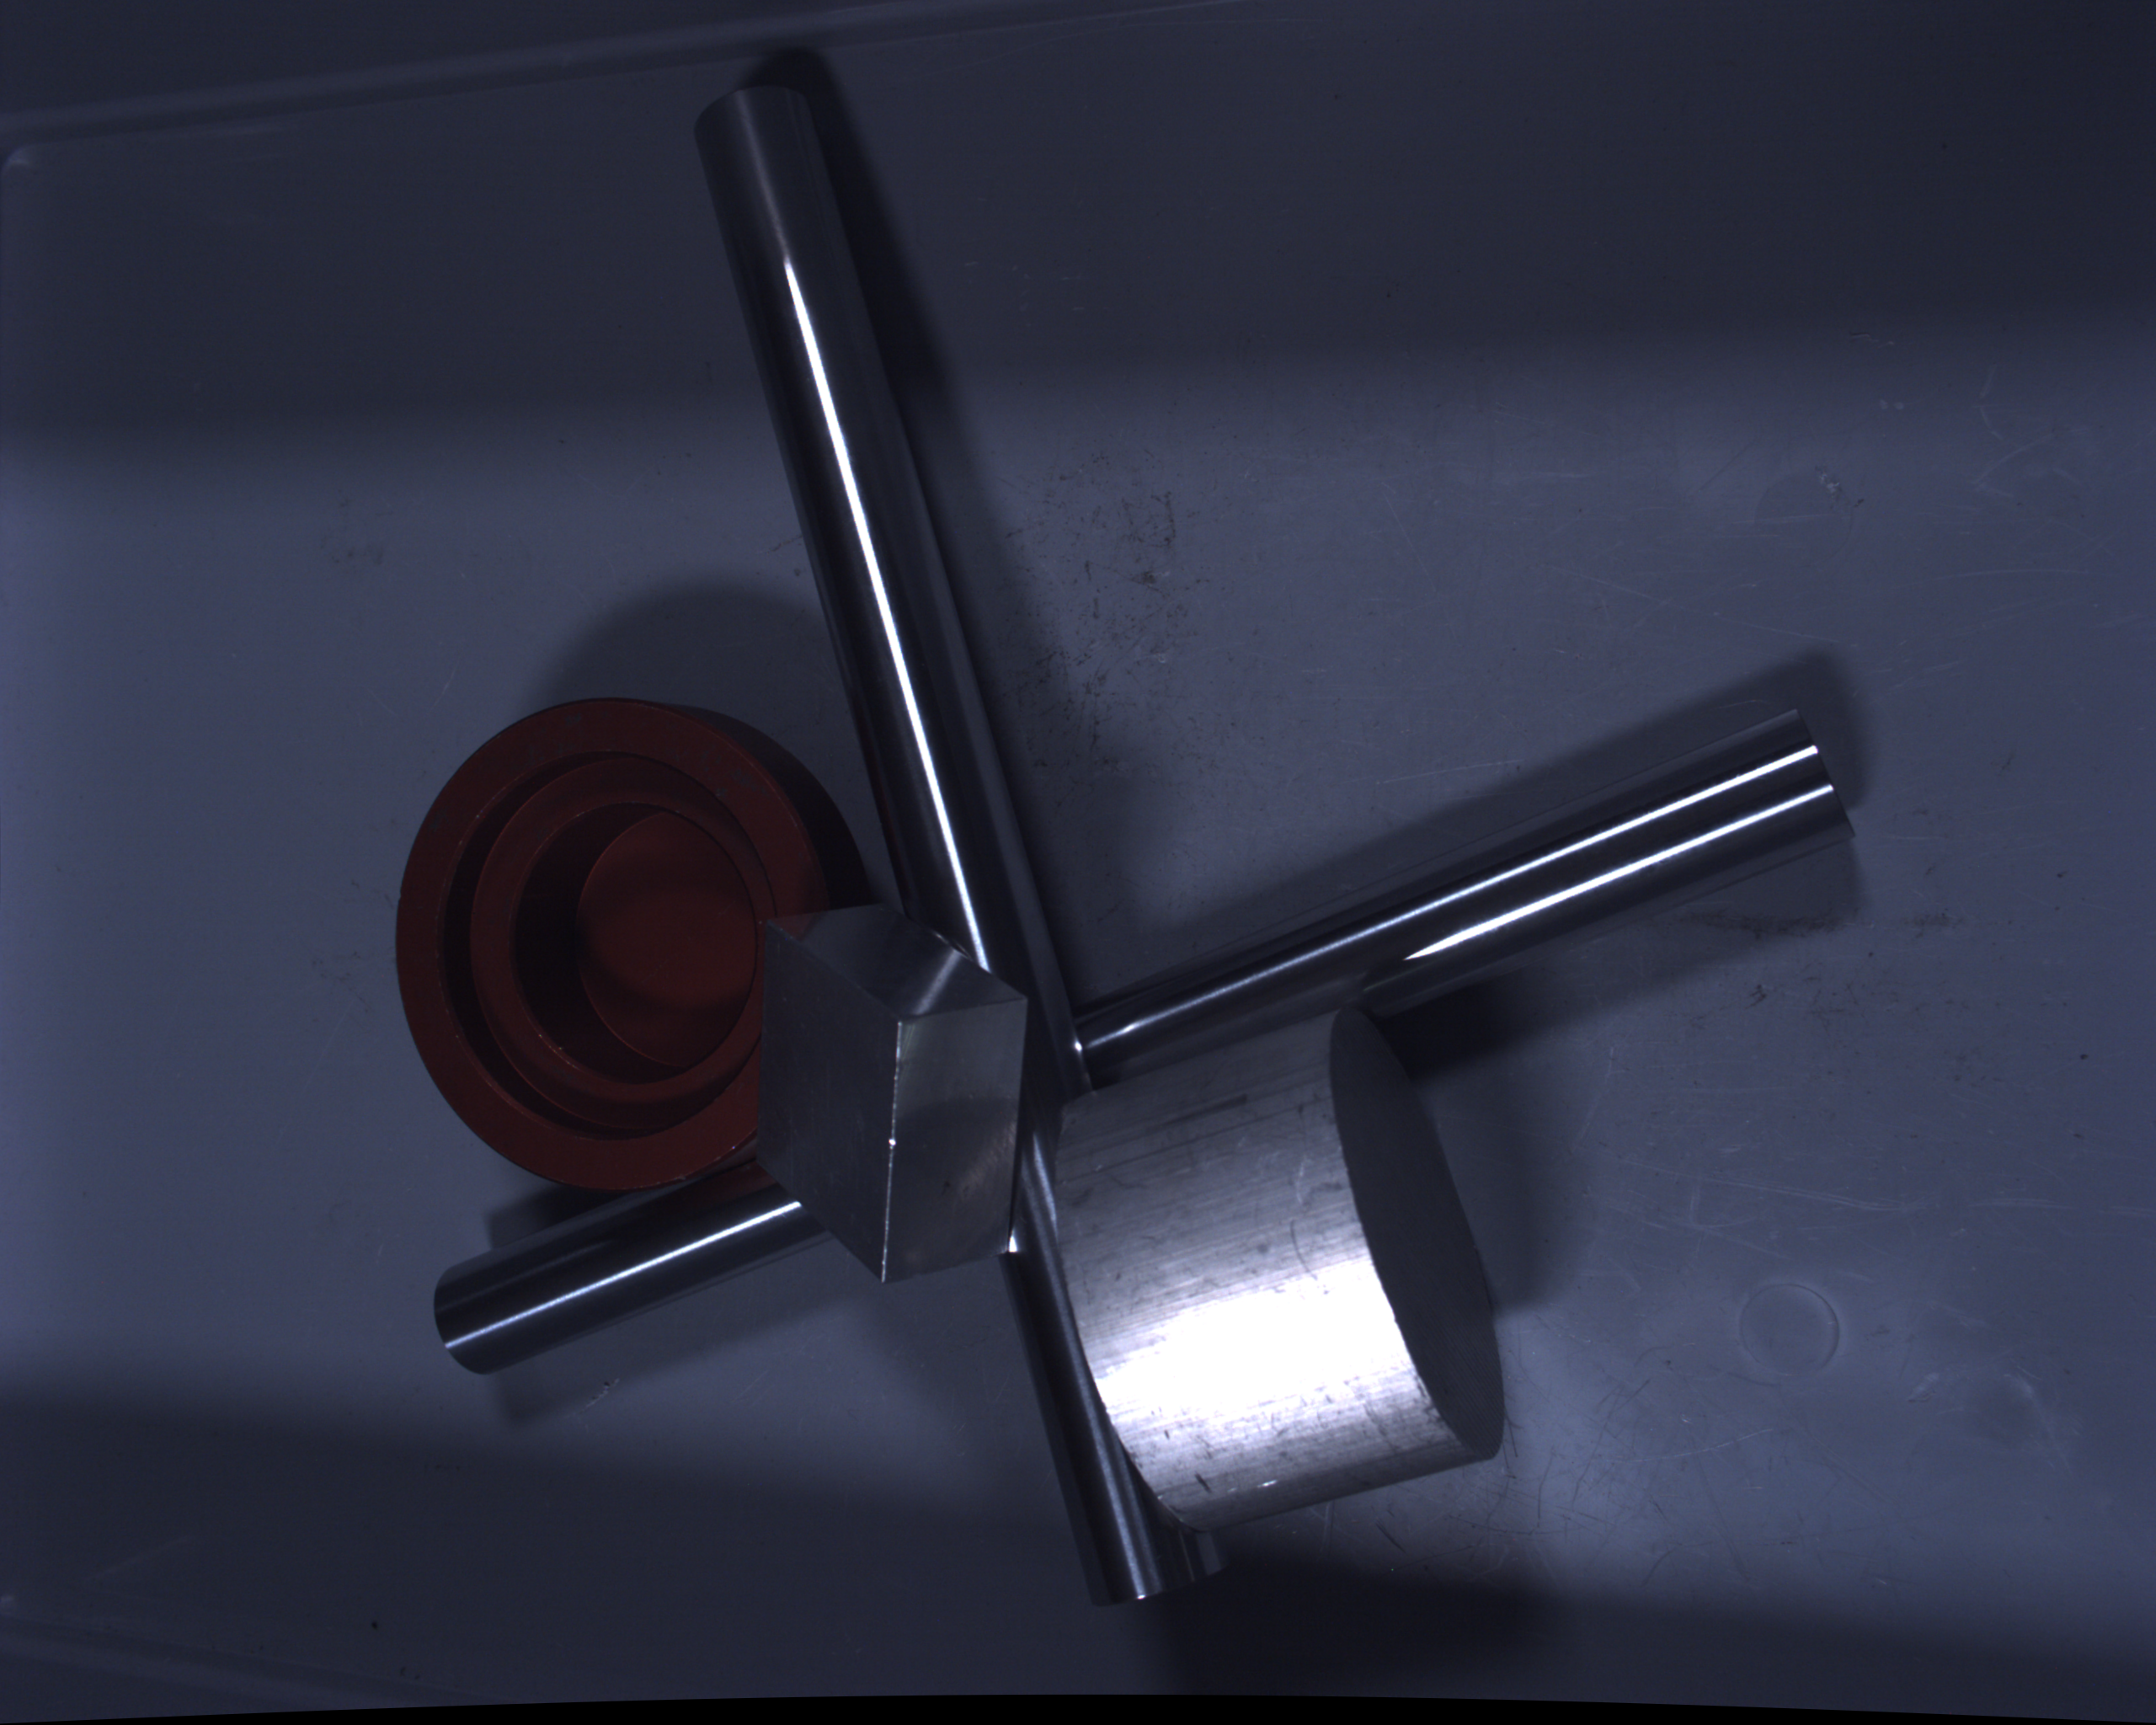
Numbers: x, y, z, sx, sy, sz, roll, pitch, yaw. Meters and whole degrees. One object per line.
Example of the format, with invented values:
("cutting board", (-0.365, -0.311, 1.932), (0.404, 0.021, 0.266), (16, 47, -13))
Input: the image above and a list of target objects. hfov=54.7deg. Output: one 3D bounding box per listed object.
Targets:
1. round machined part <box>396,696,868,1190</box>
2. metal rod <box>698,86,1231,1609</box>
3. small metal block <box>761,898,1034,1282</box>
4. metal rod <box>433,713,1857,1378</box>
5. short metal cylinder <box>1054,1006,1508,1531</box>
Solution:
("round machined part", (-0.086, 0.016, 0.430), (0.098, 0.042, 0.097), (0, 90, 19))
("metal rod", (-0.026, -0.013, 0.398), (0.025, 0.025, 0.299), (-20, 76, 18))
("small metal block", (-0.034, 0.039, 0.376), (0.050, 0.025, 0.050), (29, 120, 50))
("metal rod", (-0.001, 0.043, 0.408), (0.300, 0.025, 0.025), (-24, 82, 18))
("short metal cylinder", (0.037, 0.071, 0.366), (0.050, 0.080, 0.080), (-21, 83, 18))
